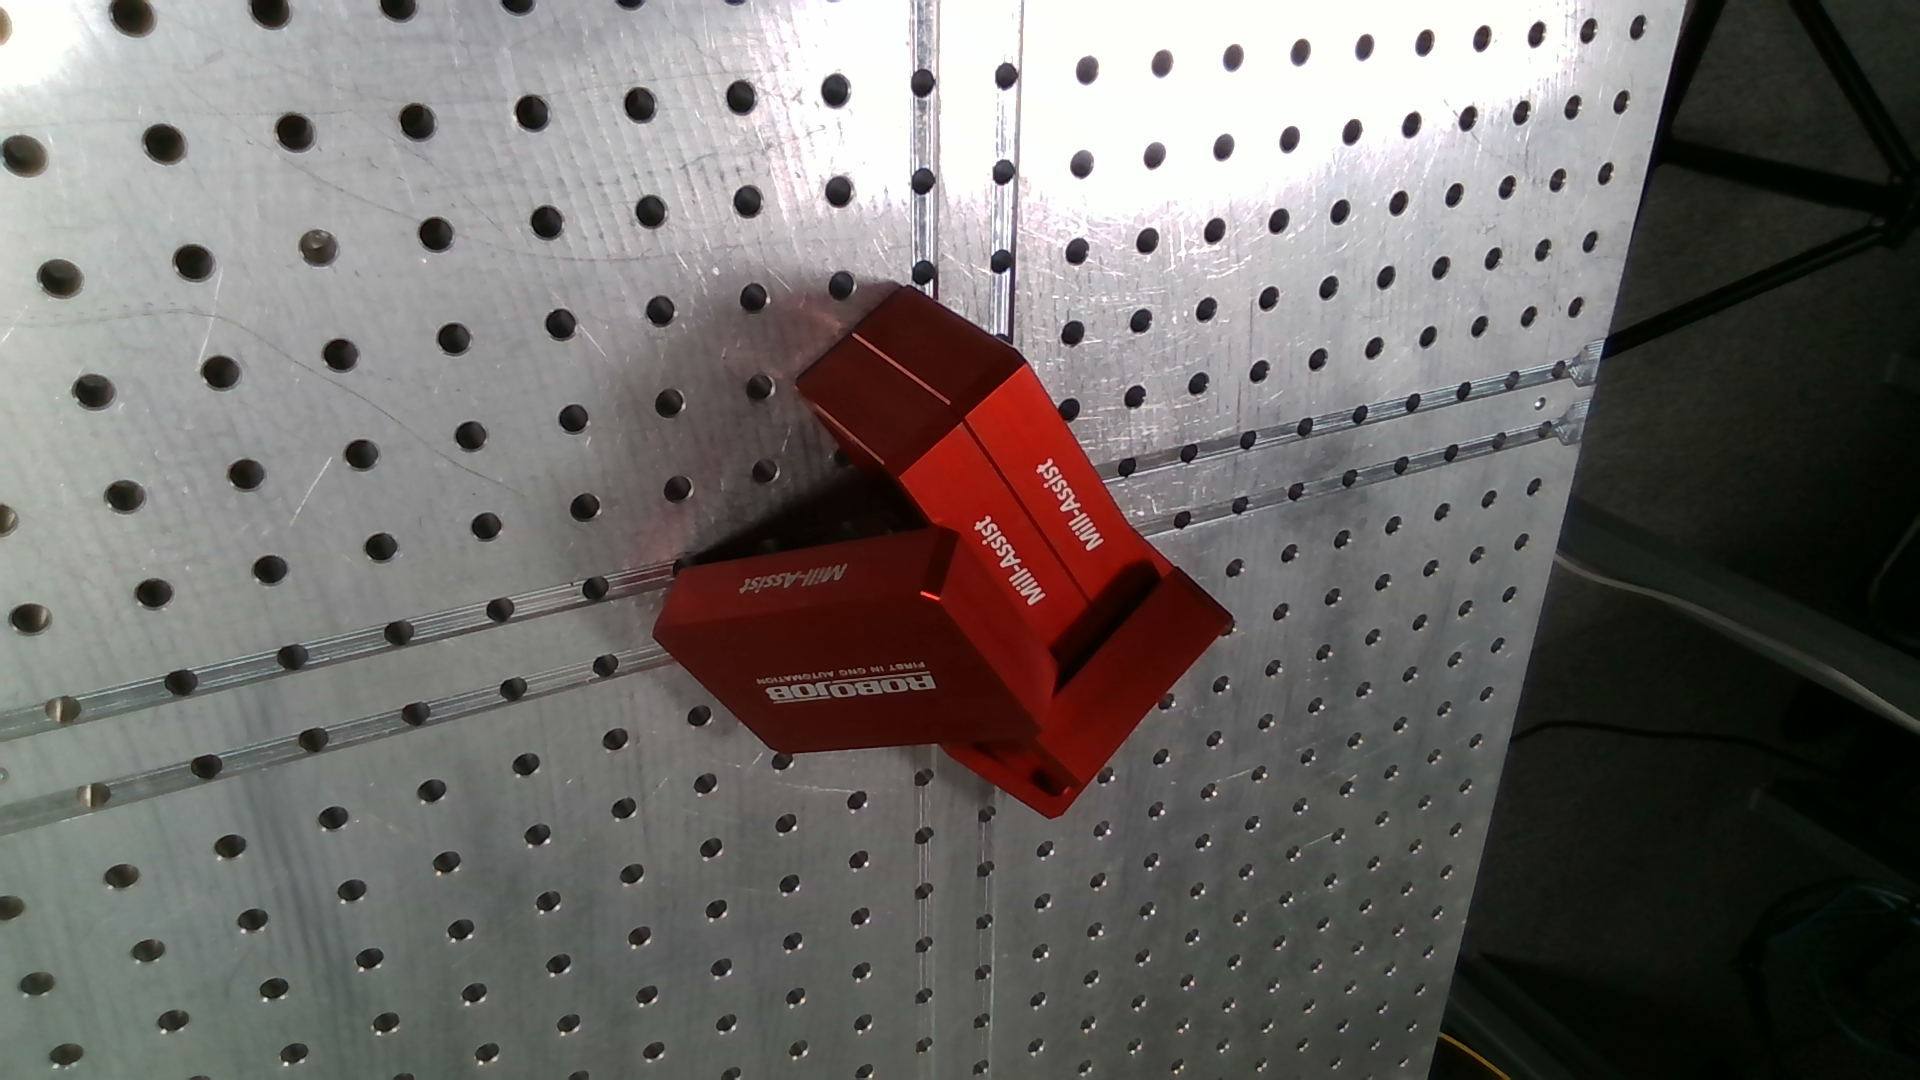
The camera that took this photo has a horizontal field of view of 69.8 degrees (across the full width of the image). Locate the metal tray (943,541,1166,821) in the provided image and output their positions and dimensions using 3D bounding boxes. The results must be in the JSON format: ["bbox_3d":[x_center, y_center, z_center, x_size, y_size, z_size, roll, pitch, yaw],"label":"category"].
[{"bbox_3d":[0.053,0.060,0.644,0.130,0.030,0.090,-50,129,1],"label":"metal tray"}]

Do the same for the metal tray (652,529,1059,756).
[{"bbox_3d":[-0.040,0.043,0.523,0.090,0.130,0.030,53,41,-38],"label":"metal tray"}]

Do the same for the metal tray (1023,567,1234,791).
[{"bbox_3d":[0.067,0.058,0.583,0.090,0.030,0.130,-47,174,-1],"label":"metal tray"}]

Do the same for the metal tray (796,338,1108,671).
[{"bbox_3d":[-0.002,-0.011,0.532,0.030,0.090,0.130,-42,129,-6],"label":"metal tray"}]

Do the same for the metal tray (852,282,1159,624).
[{"bbox_3d":[0.019,-0.032,0.536,0.030,0.090,0.130,-42,129,-6],"label":"metal tray"}]
